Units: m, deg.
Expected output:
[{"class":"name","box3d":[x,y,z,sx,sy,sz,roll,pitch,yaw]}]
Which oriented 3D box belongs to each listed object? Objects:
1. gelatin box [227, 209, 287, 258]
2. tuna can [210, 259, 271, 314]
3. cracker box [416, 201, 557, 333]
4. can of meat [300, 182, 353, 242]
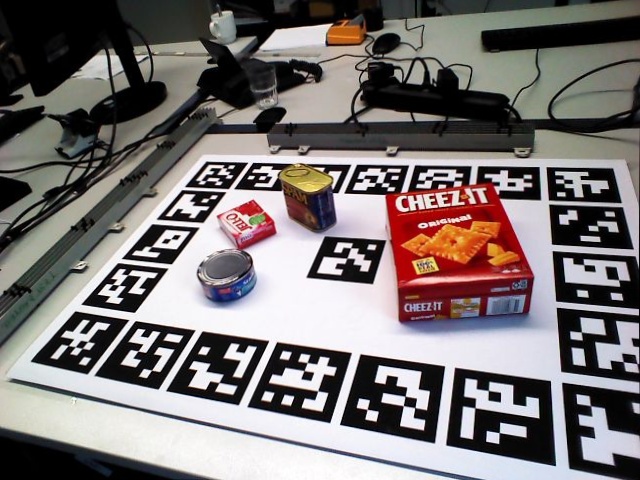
[{"class":"gelatin box","box3d":[-0.109,-0.014,0.894,0.073,0.030,0.089,-23,40,-23]},{"class":"tuna can","box3d":[-0.118,0.069,0.774,0.086,0.034,0.085,-8,38,6]},{"class":"cracker box","box3d":[0.210,0.030,0.729,0.165,0.072,0.212,-5,34,4]},{"class":"can of meat","box3d":[0.008,-0.050,0.882,0.057,0.084,0.102,-33,41,-30]}]
